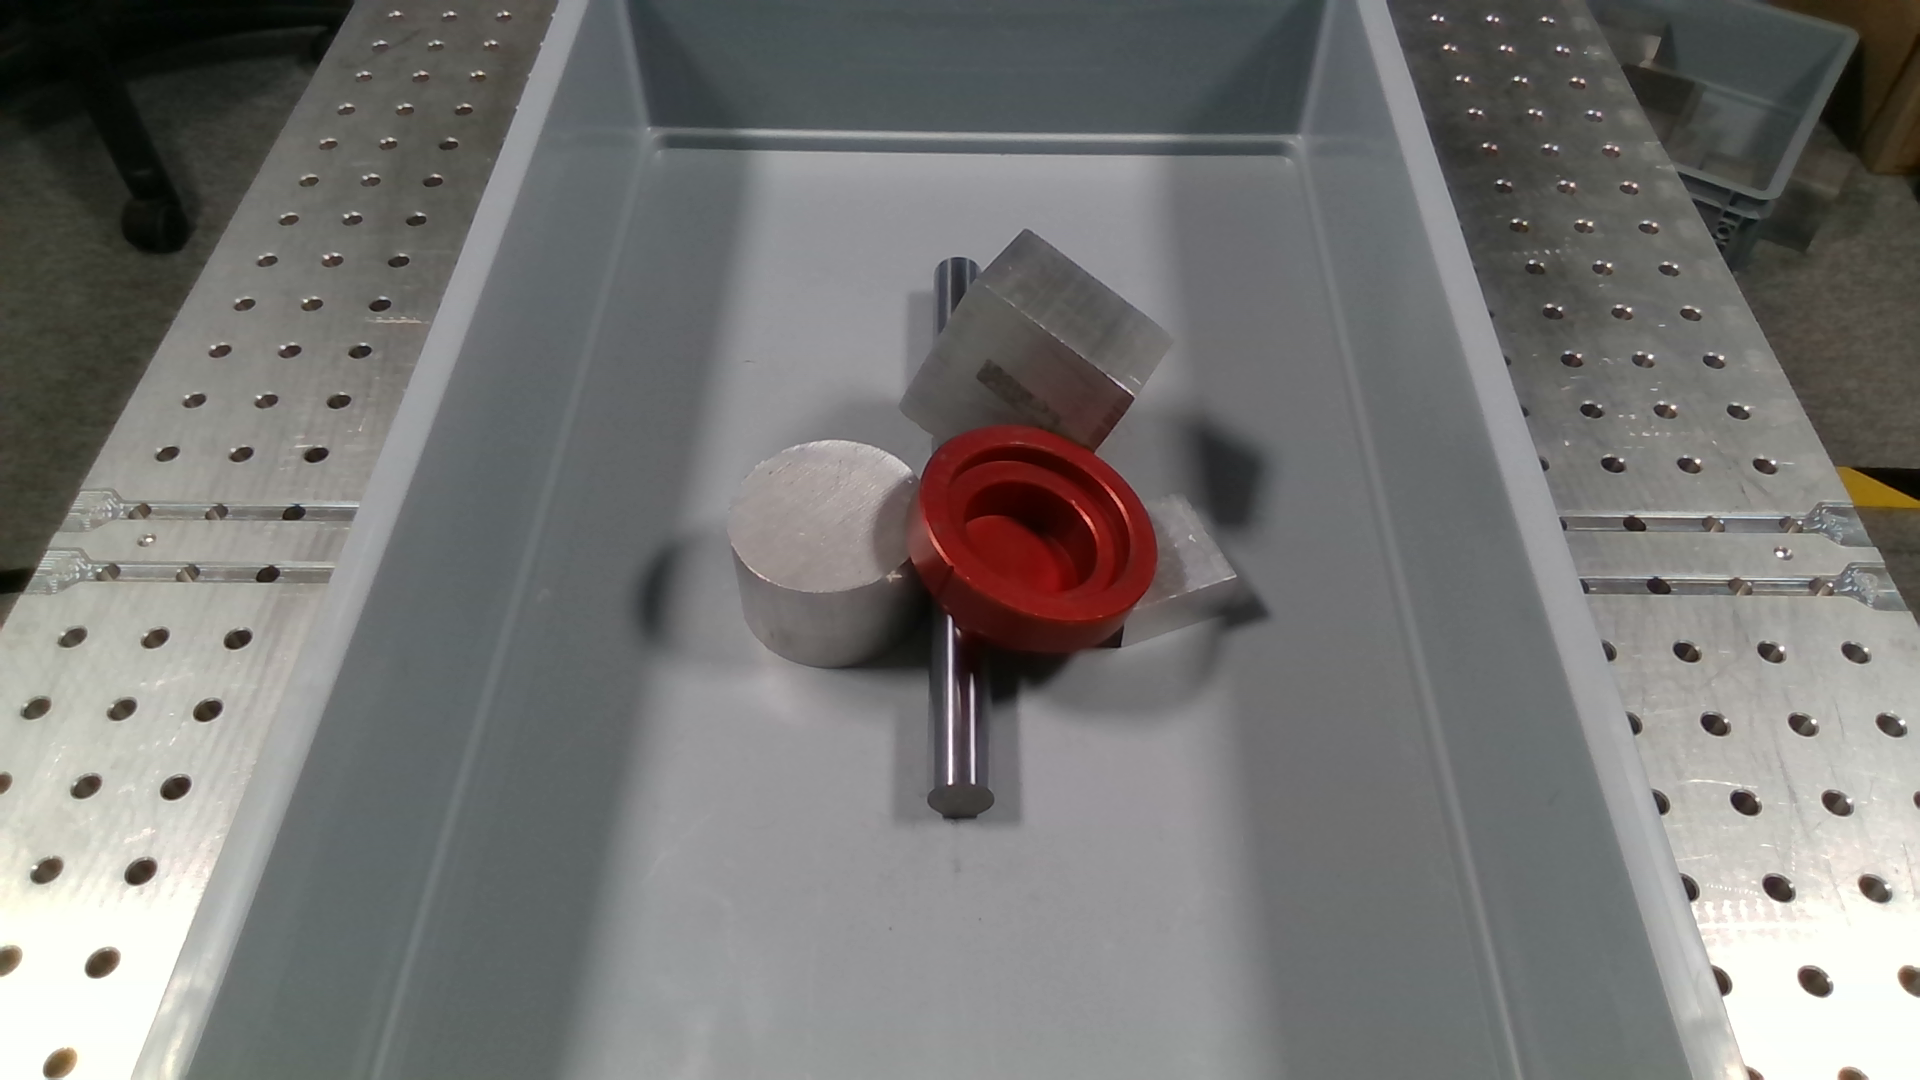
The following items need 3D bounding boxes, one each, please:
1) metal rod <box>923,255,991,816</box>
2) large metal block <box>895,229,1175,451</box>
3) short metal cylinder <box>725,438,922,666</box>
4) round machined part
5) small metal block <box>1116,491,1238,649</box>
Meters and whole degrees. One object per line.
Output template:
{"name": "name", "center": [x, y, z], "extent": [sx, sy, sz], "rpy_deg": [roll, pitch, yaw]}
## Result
{"name": "metal rod", "center": [-0.002, -0.020, 0.600], "extent": [0.025, 0.025, 0.299], "rpy_deg": [0, 50, 0]}
{"name": "large metal block", "center": [0.031, -0.070, 0.589], "extent": [0.080, 0.080, 0.050], "rpy_deg": [36, 44, 0]}
{"name": "short metal cylinder", "center": [-0.053, 0.005, 0.564], "extent": [0.080, 0.050, 0.080], "rpy_deg": [0, 50, 0]}
{"name": "round machined part", "center": [0.025, 0.004, 0.546], "extent": [0.098, 0.042, 0.098], "rpy_deg": [12, 48, -13]}
{"name": "small metal block", "center": [0.080, 0.012, 0.577], "extent": [0.050, 0.025, 0.050], "rpy_deg": [-17, 52, -13]}
